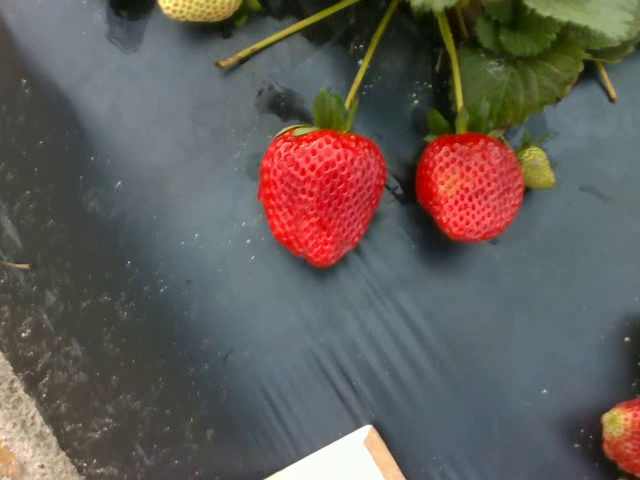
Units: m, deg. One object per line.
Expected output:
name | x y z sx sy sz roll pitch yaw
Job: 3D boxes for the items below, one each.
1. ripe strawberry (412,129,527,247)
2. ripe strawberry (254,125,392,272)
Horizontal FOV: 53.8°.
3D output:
ripe strawberry | 0.064 -0.020 0.278 0.050 0.060 0.051 -8 -48 25
ripe strawberry | -0.001 -0.017 0.274 0.058 0.065 0.043 -2 -14 25
